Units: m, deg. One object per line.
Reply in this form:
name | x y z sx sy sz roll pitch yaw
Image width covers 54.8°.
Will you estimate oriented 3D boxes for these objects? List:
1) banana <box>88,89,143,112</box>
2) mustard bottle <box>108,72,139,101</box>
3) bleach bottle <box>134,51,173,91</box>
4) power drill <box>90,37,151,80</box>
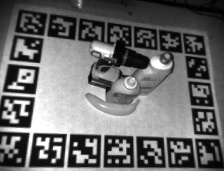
banana | 0.012 0.053 0.765 0.198 0.039 0.074 8 72 -8
mustard bottle | 0.048 0.000 0.698 0.097 0.191 0.058 4 71 -11
bleach bottle | 0.122 -0.057 0.708 0.103 0.250 0.067 6 65 -9
power drill | 0.013 -0.077 0.694 0.185 0.186 0.057 16 69 -8
